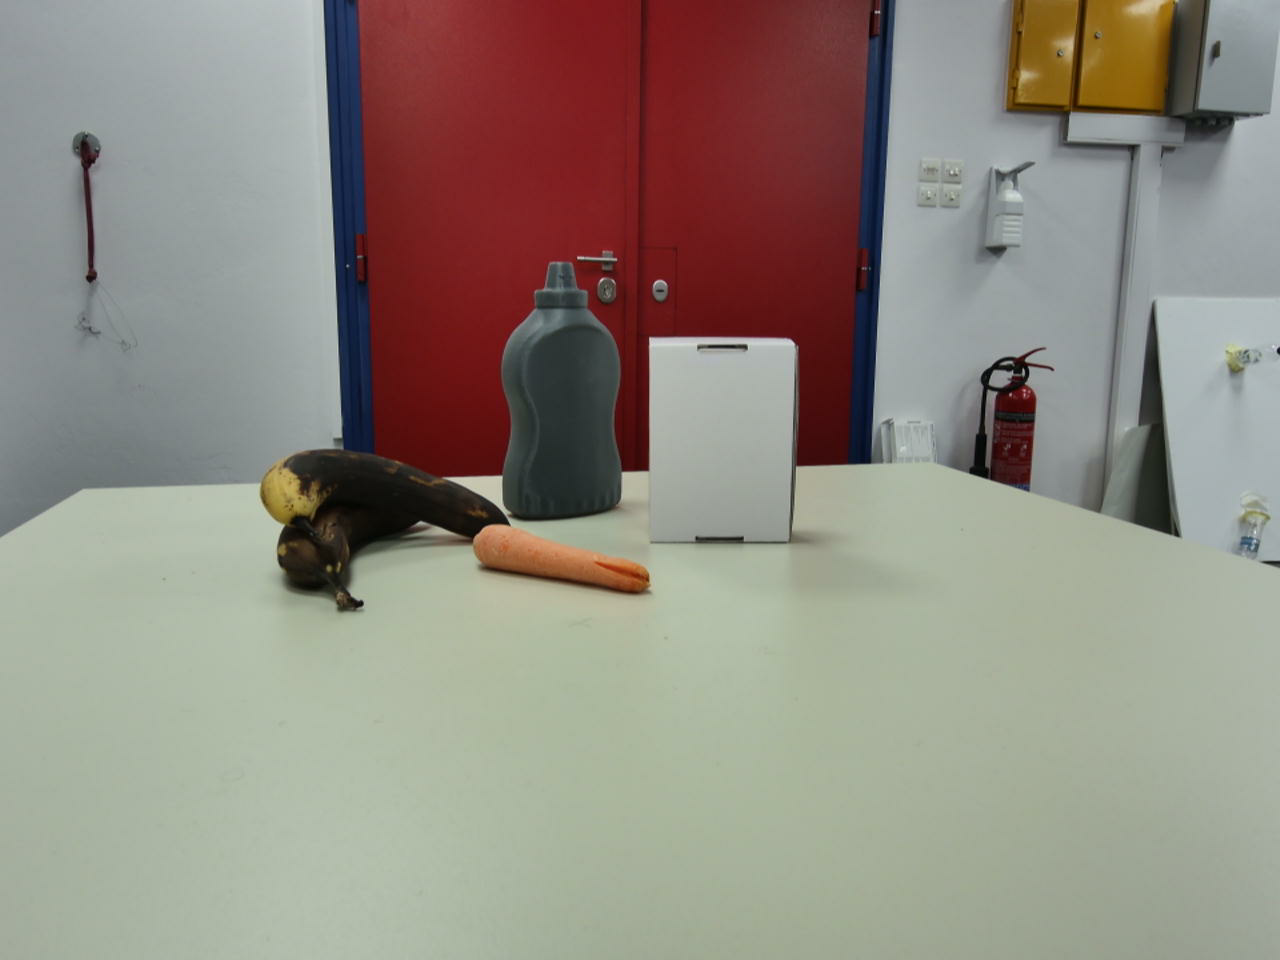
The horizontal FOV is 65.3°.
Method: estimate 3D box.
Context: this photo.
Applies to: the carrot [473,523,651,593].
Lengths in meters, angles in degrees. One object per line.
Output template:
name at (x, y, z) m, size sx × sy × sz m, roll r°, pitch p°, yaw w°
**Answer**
carrot at (-0.053, 0.049, 0.638) m, size 0.136 × 0.032 × 0.030 m, roll 6°, pitch 9°, yaw 32°
